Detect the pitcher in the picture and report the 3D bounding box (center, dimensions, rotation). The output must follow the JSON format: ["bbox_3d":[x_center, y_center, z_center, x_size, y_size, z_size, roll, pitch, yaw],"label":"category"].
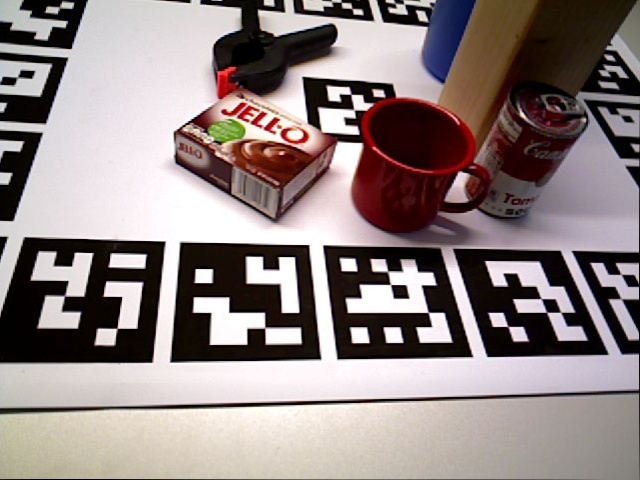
[{"bbox_3d":[0.202,-0.281,0.544,0.187,0.248,0.131,-1,50,-9],"label":"pitcher"}]

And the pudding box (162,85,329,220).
[{"bbox_3d":[-0.063,-0.077,0.468,0.114,0.039,0.088,29,55,14],"label":"pudding box"}]

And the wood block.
[{"bbox_3d":[0.190,-0.178,0.479,0.089,0.211,0.090,0,51,-16],"label":"wood block"}]

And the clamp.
[{"bbox_3d":[-0.062,-0.198,0.572,0.121,0.037,0.161,28,52,2],"label":"clamp"}]

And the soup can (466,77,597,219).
[{"bbox_3d":[0.175,-0.075,0.463,0.067,0.104,0.067,5,53,-7],"label":"soup can"}]

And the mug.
[{"bbox_3d":[0.084,-0.054,0.444,0.117,0.083,0.091,28,49,13],"label":"mug"}]
